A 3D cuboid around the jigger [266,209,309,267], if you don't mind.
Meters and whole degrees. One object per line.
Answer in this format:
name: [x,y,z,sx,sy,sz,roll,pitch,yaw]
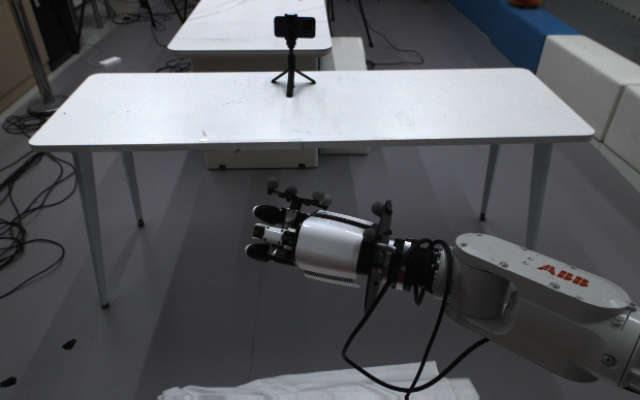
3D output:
jigger: [-0.042,0.048,0.677,0.043,0.071,0.043,15,-7,2]
